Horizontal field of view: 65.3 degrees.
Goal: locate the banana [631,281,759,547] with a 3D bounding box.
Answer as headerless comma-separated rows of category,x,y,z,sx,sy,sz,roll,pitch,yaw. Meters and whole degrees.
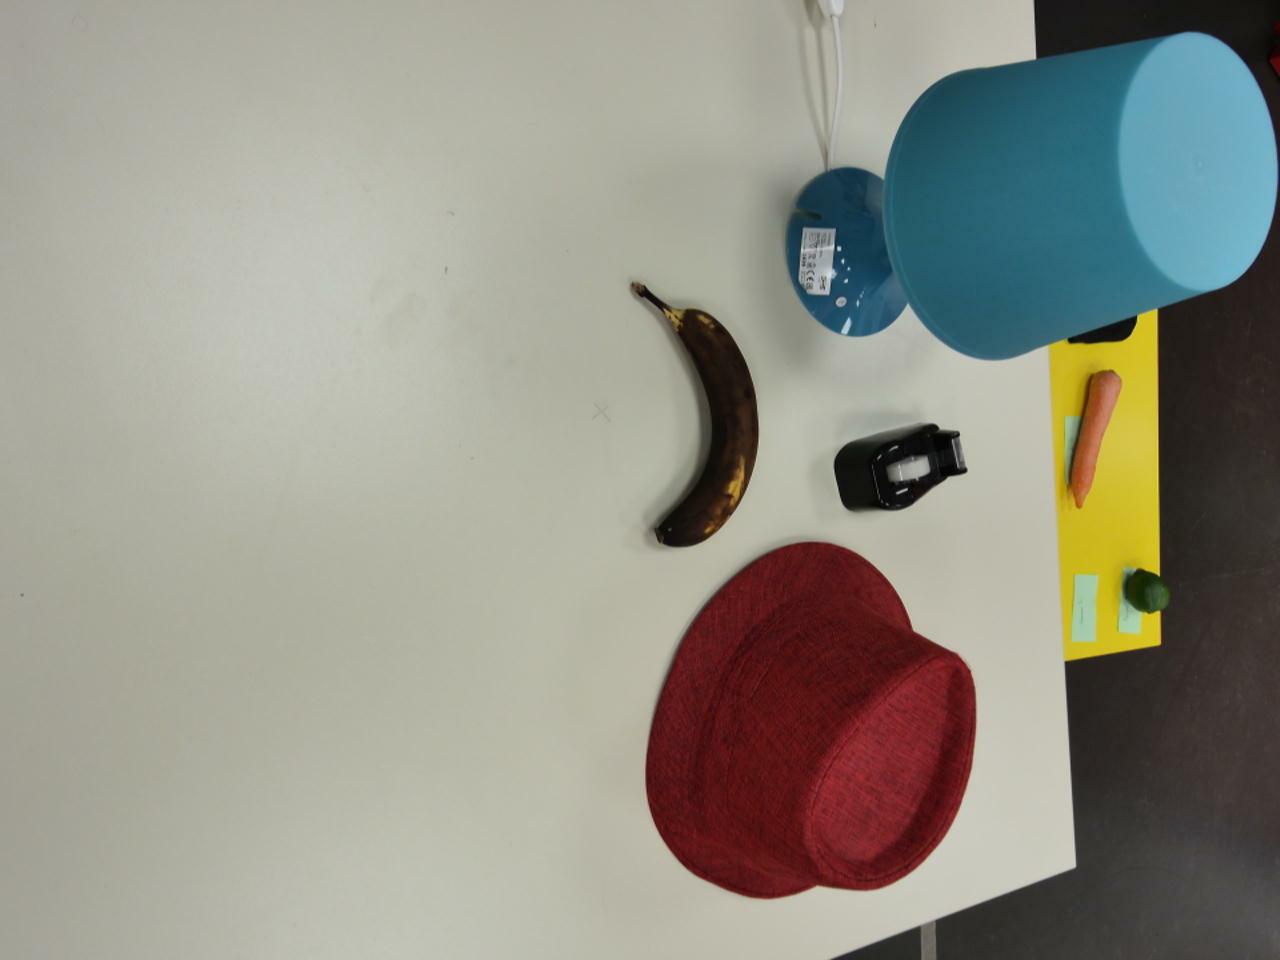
banana,0.045,-0.048,0.712,0.091,0.034,0.188,-4,93,-28
